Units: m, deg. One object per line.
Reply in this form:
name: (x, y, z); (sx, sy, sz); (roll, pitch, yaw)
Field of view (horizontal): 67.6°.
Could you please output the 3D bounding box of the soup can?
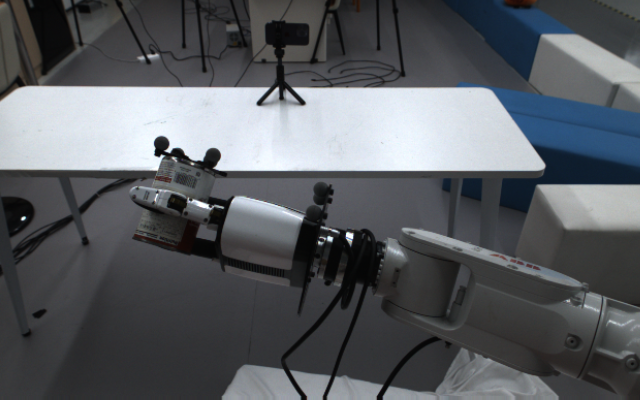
soup can: (-0.169, 0.009, 0.571); (0.067, 0.067, 0.101); (13, 78, 15)
